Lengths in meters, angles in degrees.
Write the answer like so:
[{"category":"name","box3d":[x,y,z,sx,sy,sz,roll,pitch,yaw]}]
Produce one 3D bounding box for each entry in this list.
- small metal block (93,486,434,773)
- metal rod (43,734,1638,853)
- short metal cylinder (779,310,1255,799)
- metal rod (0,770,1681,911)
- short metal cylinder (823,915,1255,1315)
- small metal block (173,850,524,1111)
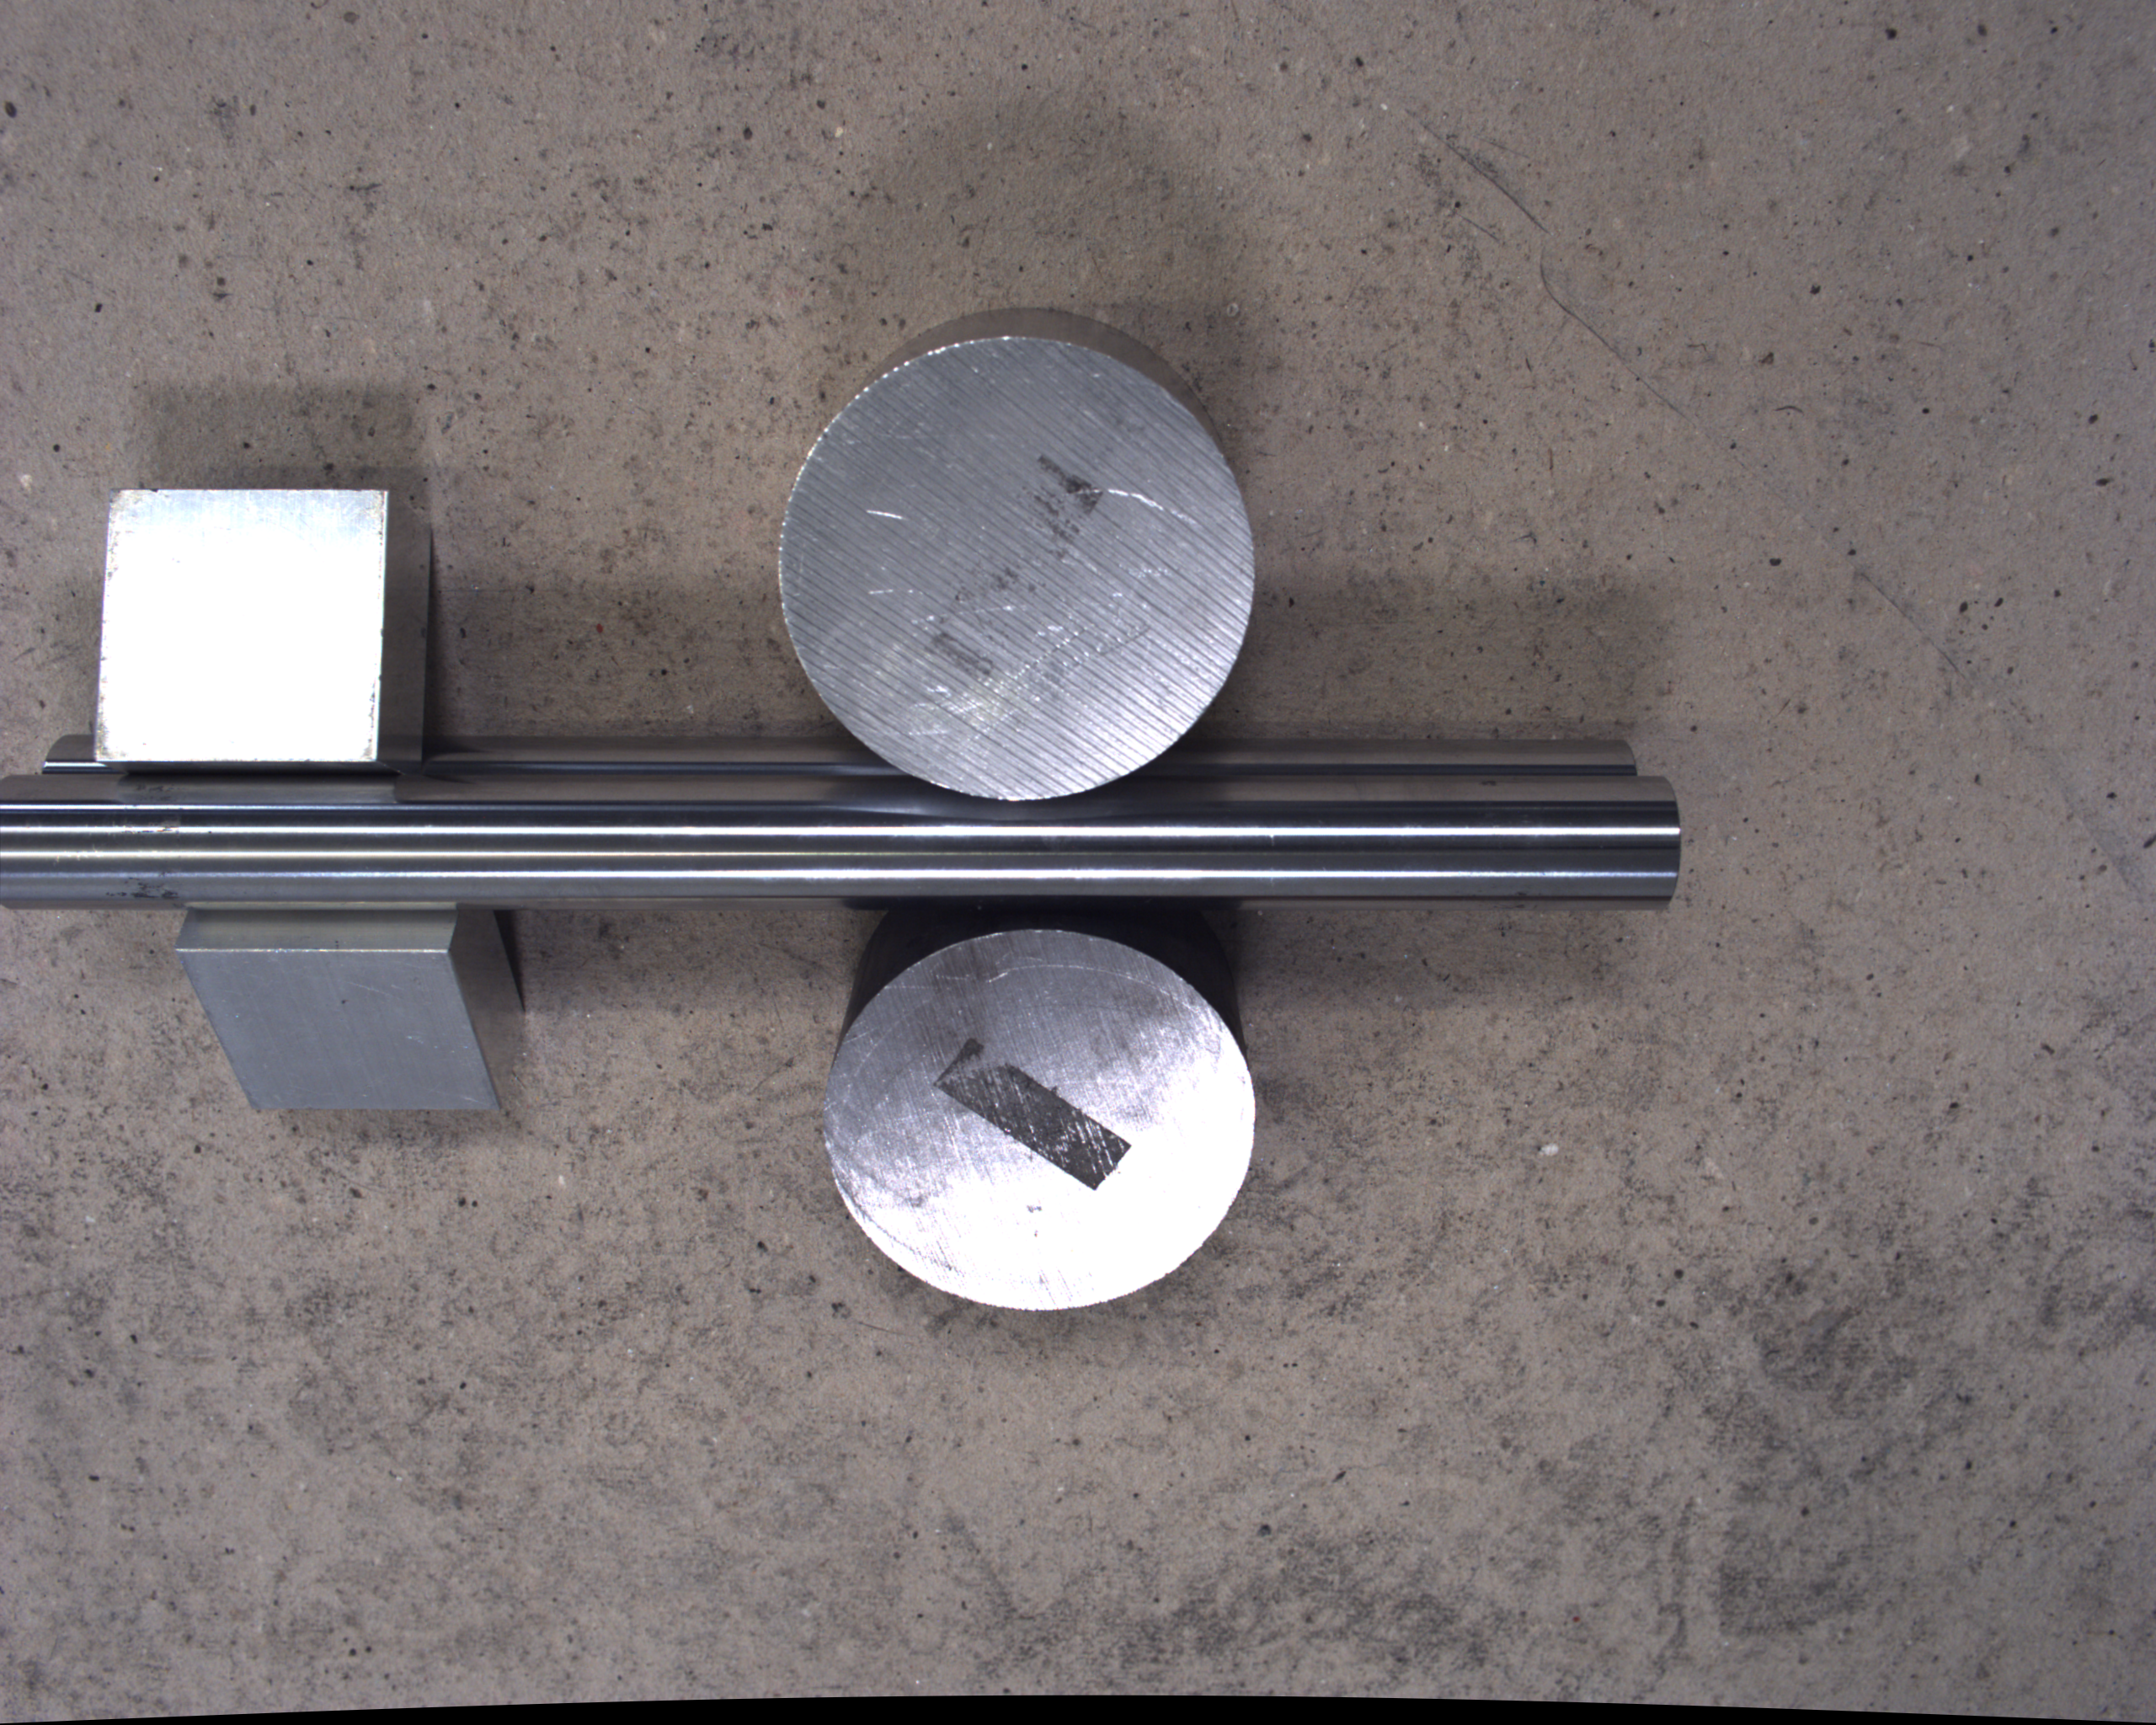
[{"category":"small metal block","box3d":[-0.149,-0.041,0.384,0.050,0.025,0.050,0,83,0]},{"category":"metal rod","box3d":[-0.045,-0.012,0.406,0.302,0.025,0.025,0,110,-1]},{"category":"short metal cylinder","box3d":[-0.010,-0.057,0.376,0.081,0.050,0.079,0,110,0]},{"category":"metal rod","box3d":[-0.044,-0.004,0.383,0.302,0.025,0.025,0,110,0]},{"category":"short metal cylinder","box3d":[-0.007,0.042,0.413,0.081,0.050,0.079,0,110,0]},{"category":"small metal block","box3d":[-0.140,0.024,0.408,0.050,0.025,0.050,0,137,-1]}]
